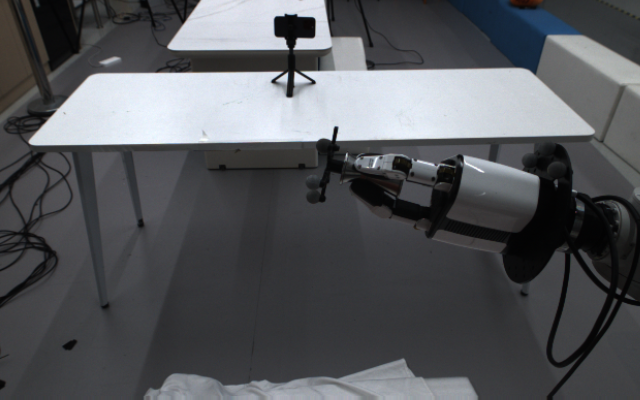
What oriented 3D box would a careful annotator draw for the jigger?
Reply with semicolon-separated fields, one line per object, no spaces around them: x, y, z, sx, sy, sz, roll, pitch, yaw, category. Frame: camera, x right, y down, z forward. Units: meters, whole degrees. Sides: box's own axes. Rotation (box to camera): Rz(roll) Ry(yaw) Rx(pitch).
0.067;-0.033;0.553;0.071;0.043;0.043;13;36;4;jigger
